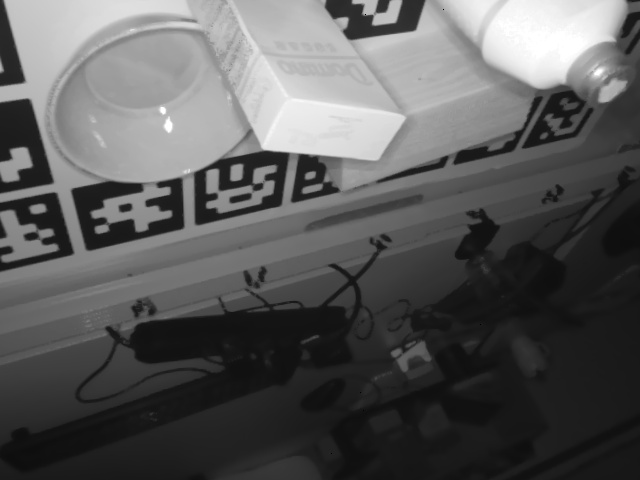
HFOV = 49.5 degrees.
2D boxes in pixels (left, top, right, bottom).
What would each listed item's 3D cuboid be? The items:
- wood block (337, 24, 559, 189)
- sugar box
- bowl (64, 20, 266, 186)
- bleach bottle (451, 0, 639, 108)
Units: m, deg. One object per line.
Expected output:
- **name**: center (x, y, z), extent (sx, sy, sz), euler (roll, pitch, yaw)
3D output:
- **wood block**: center (0.114, -0.134, 0.664), extent (0.208, 0.090, 0.090), euler (-18, 144, -12)
- **sugar box**: center (-0.014, -0.132, 0.475), extent (0.094, 0.176, 0.044), euler (-2, 140, -40)
- **bowl**: center (-0.122, -0.115, 0.543), extent (0.163, 0.055, 0.160), euler (-23, 150, -13)
- **bleach bottle**: center (0.124, -0.183, 0.435), extent (0.102, 0.251, 0.068), euler (-27, 150, 2)
